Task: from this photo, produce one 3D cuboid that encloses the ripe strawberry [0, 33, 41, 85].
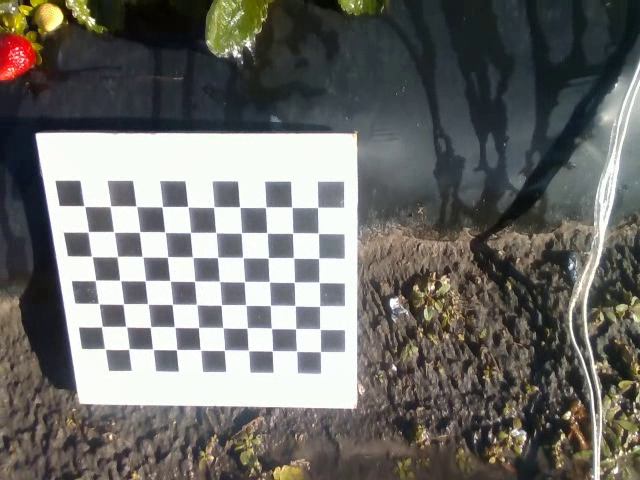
[{"bbox_3d":[-0.210,-0.115,0.337,0.039,0.040,0.039,-6,43,16],"label":"ripe strawberry"}]
